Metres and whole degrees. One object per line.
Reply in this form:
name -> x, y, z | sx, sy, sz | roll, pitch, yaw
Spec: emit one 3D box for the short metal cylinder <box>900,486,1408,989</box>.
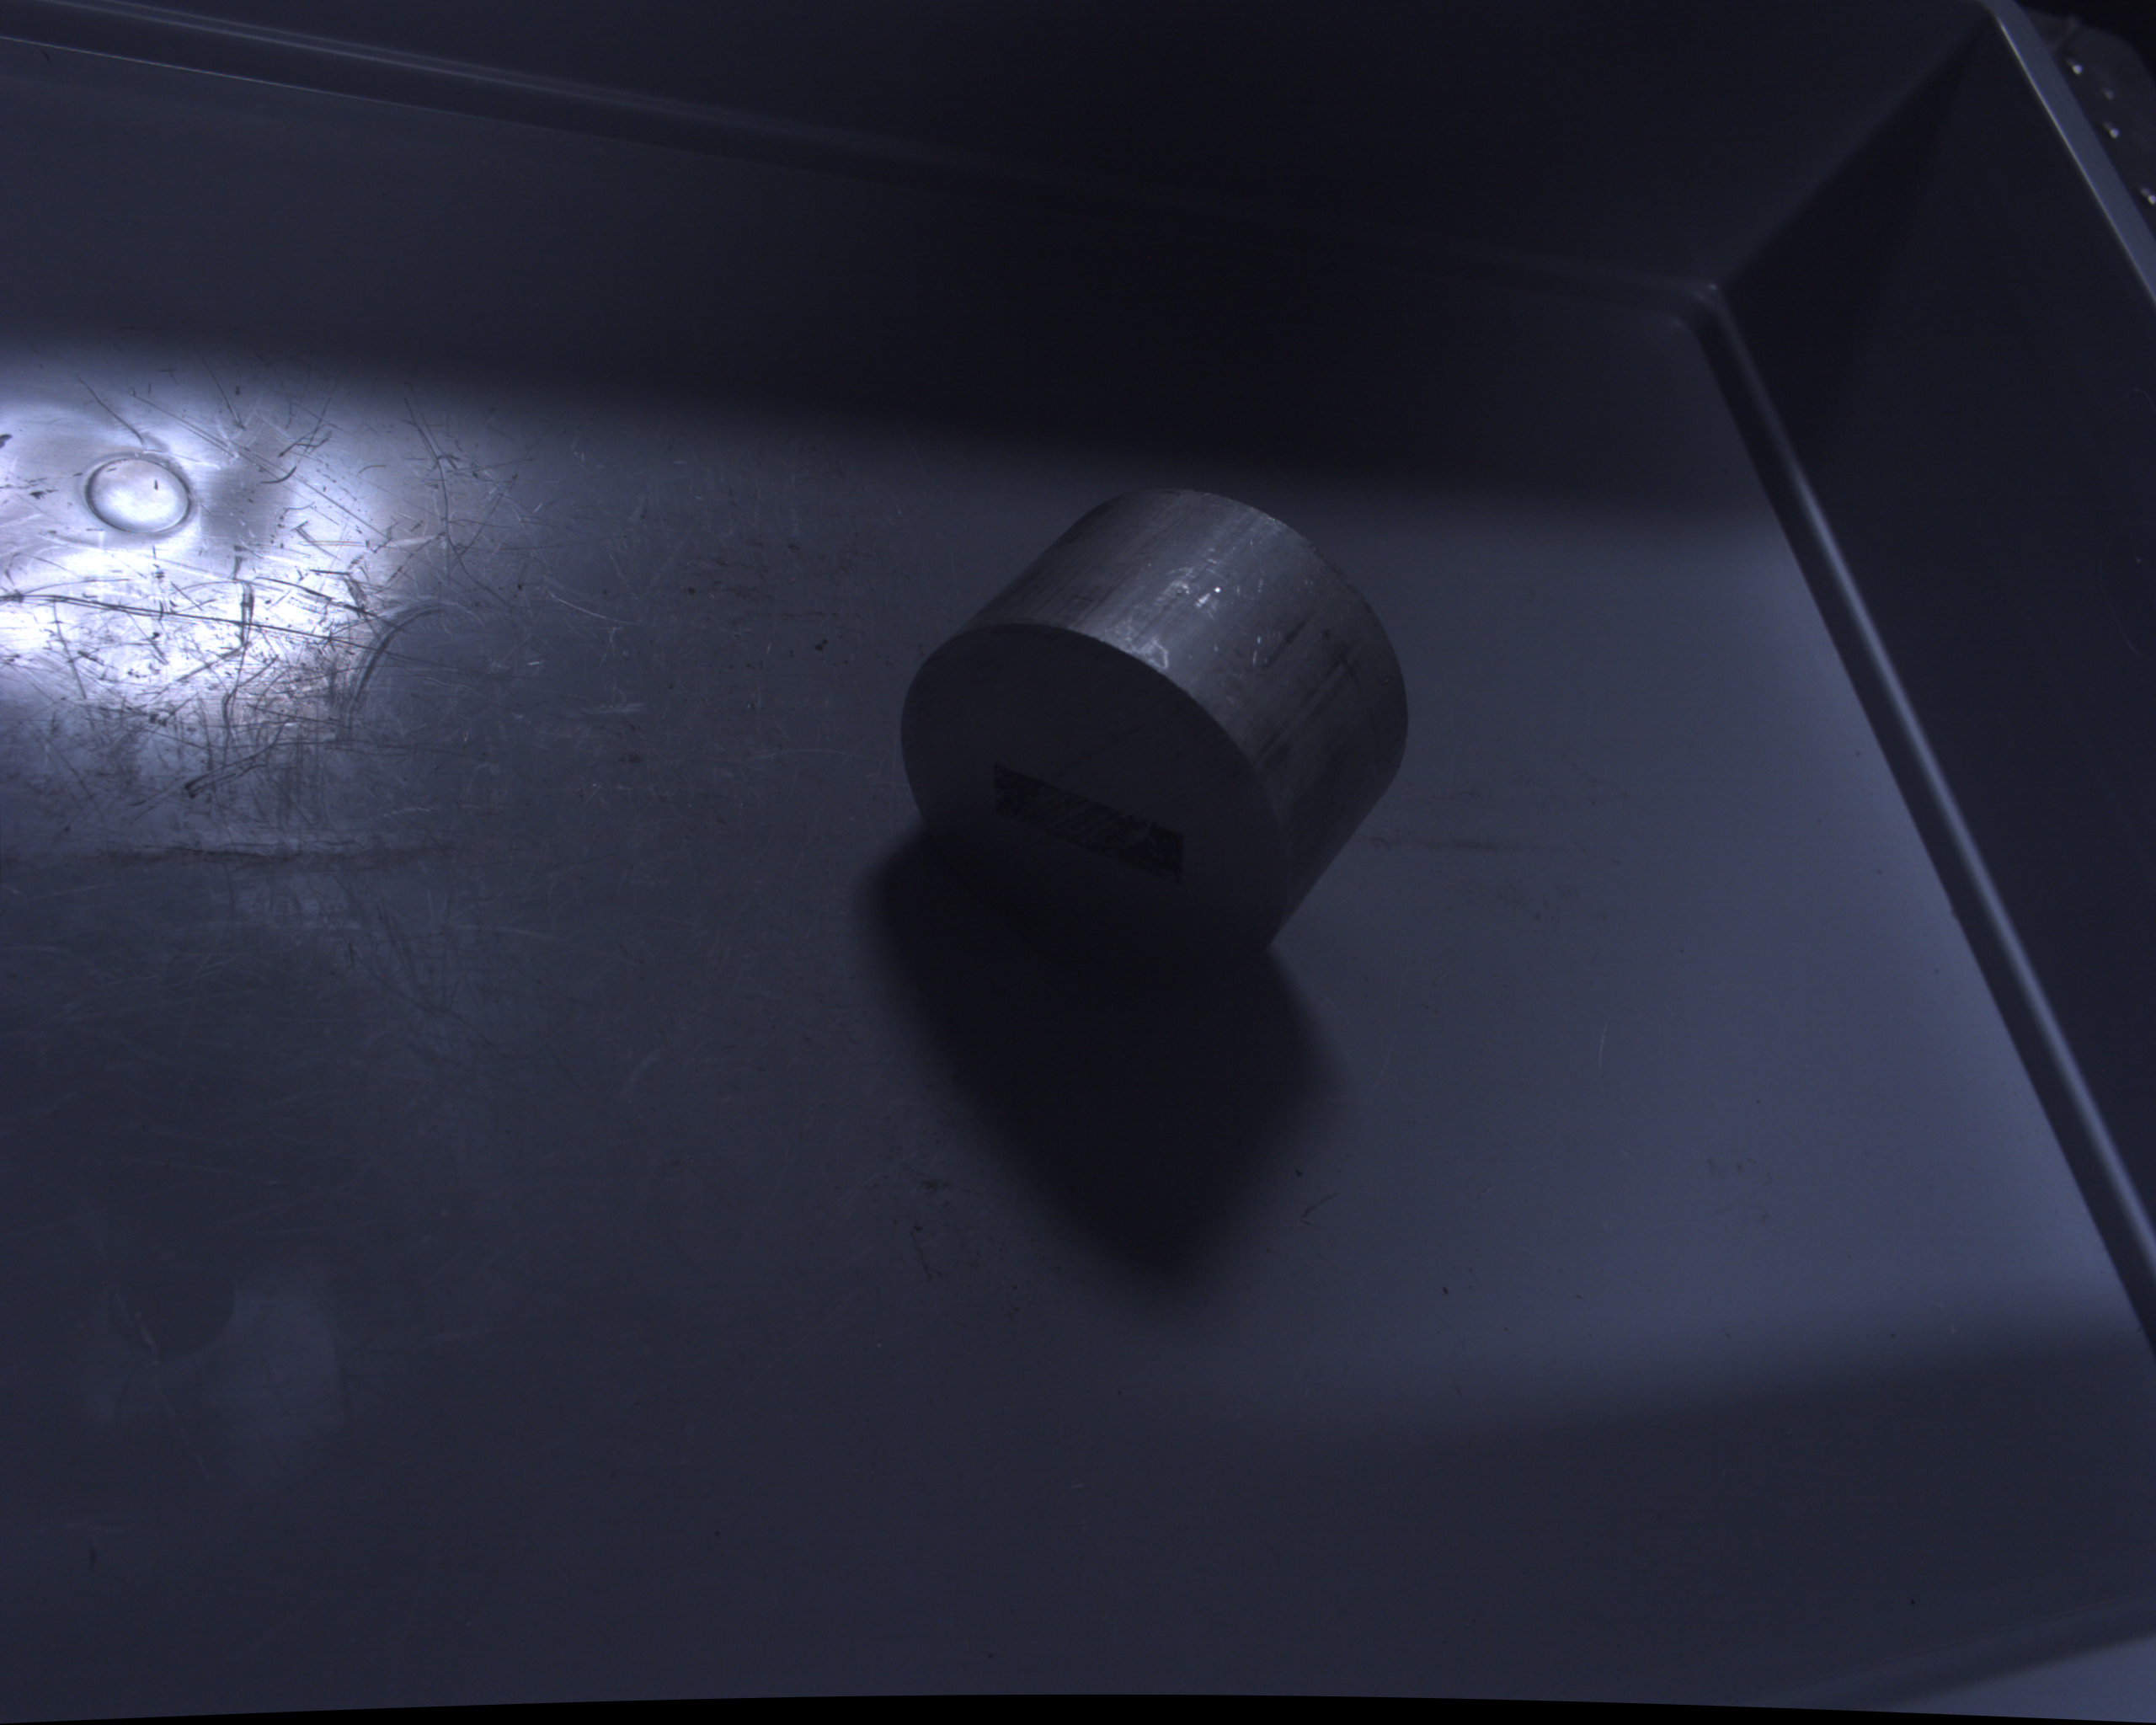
short metal cylinder -> 0.014, -0.023, 0.390 | 0.080, 0.080, 0.050 | 41, 51, -1
